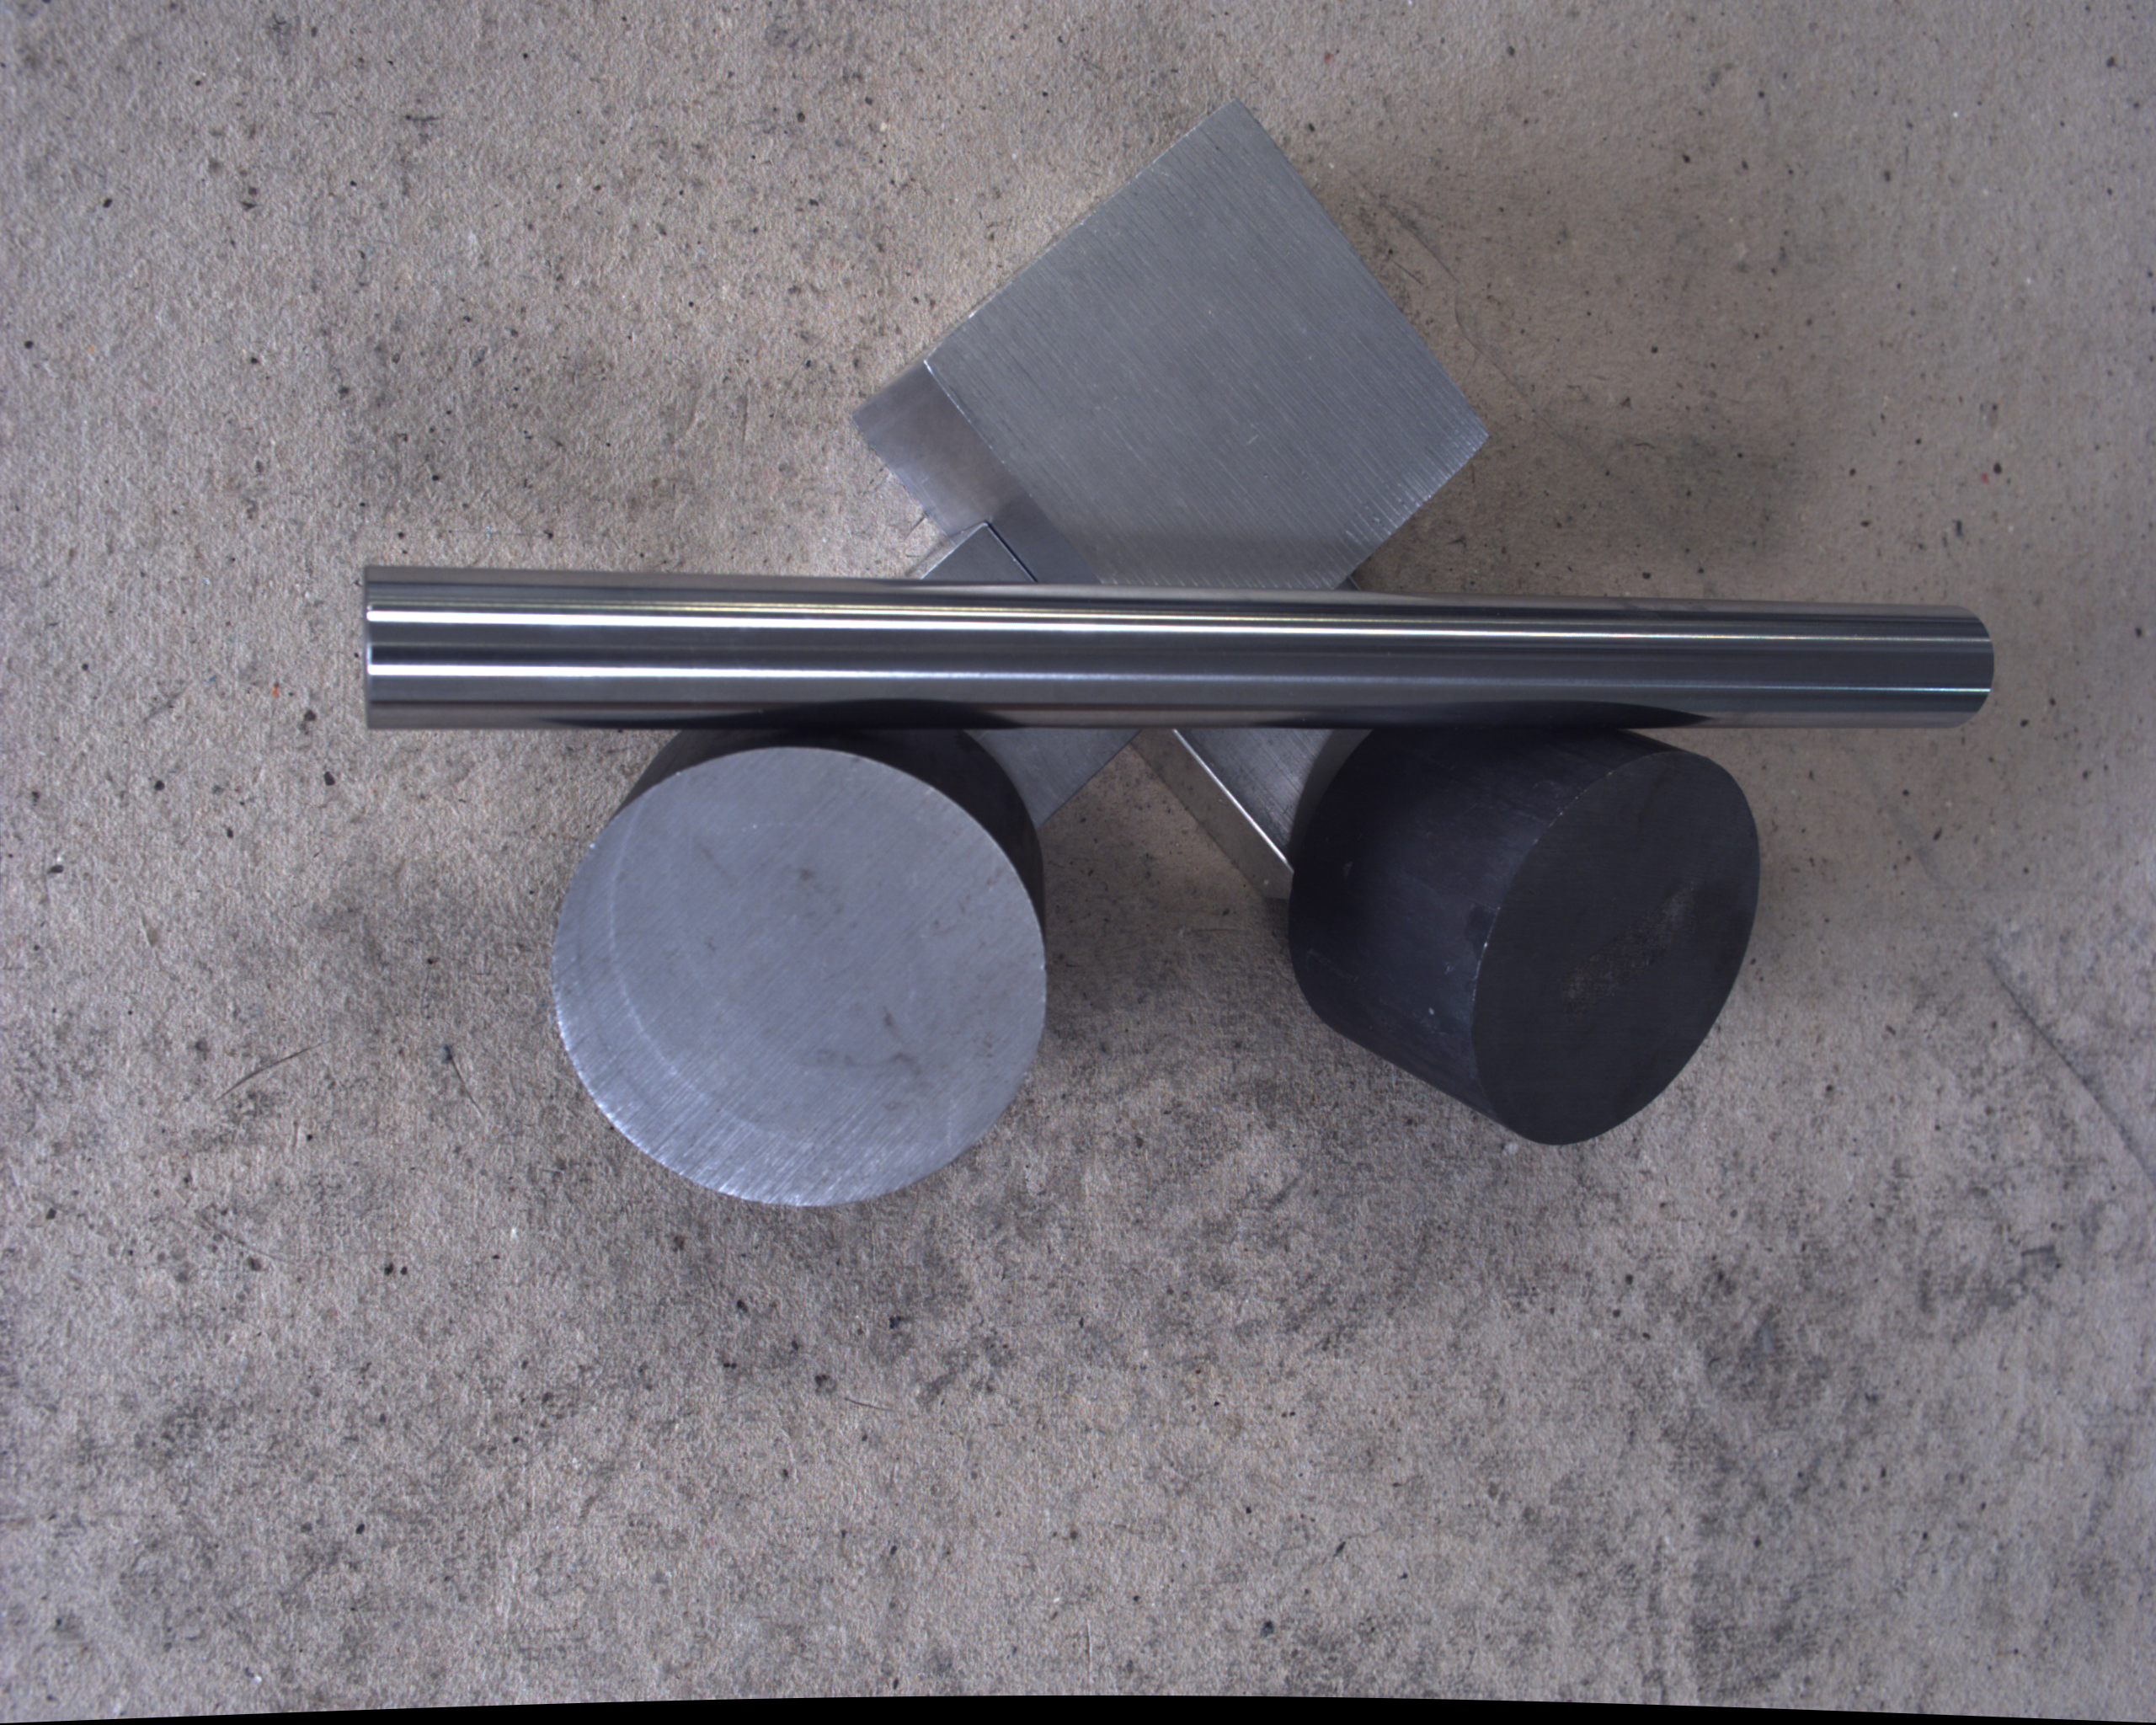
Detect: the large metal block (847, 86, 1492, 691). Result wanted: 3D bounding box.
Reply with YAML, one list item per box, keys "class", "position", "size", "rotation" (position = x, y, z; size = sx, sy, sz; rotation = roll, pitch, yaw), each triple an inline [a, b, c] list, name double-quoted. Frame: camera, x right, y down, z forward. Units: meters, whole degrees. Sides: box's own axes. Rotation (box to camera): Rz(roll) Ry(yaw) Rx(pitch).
- class: "large metal block"
  position: [0.017, -0.085, 0.401]
  size: [0.080, 0.050, 0.080]
  rotation: [-44, 104, -15]

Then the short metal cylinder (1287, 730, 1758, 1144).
- class: "short metal cylinder"
  position: [0.089, 0.009, 0.415]
  size: [0.081, 0.050, 0.079]
  rotation: [-16, 117, -33]

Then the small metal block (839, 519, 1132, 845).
- class: "small metal block"
  position: [-0.023, -0.029, 0.402]
  size: [0.050, 0.025, 0.050]
  rotation: [-45, 104, -15]

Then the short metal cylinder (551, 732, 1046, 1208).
- class: "short metal cylinder"
  position: [-0.046, 0.013, 0.365]
  size: [0.081, 0.050, 0.079]
  rotation: [0, 107, -1]

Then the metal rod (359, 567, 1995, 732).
- class: "metal rod"
  position: [0.033, -0.036, 0.368]
  size: [0.303, 0.025, 0.025]
  rotation: [-2, 91, -20]

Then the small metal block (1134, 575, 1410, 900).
- class: "small metal block"
  position: [0.045, -0.027, 0.427]
  size: [0.050, 0.025, 0.050]
  rotation: [-45, 104, -14]
